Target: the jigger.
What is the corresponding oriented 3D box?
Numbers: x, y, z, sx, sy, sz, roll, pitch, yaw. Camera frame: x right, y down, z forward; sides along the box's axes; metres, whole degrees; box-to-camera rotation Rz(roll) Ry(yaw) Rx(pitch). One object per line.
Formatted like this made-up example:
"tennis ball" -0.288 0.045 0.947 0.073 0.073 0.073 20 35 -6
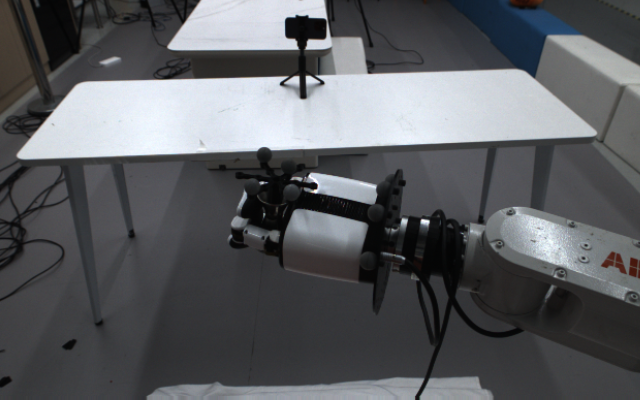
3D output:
"jigger" -0.050 0.023 0.550 0.043 0.071 0.043 6 32 -4
